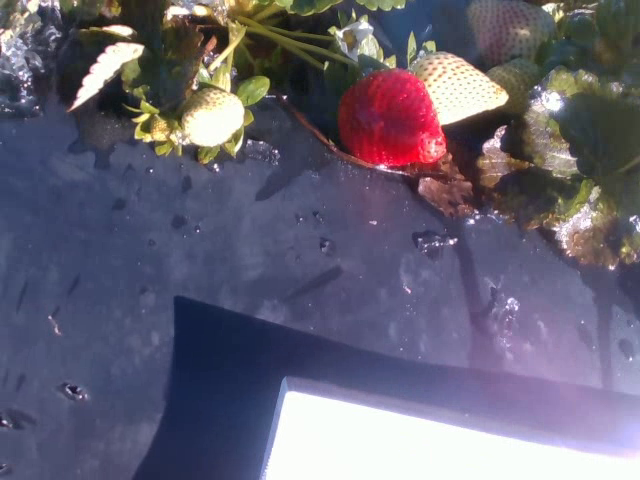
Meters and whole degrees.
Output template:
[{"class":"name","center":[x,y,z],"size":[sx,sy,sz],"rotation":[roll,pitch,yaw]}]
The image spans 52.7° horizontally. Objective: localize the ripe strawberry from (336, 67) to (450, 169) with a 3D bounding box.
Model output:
[{"class":"ripe strawberry","center":[0.029,-0.040,0.223],"size":[0.040,0.042,0.053],"rotation":[-23,33,-8]}]
